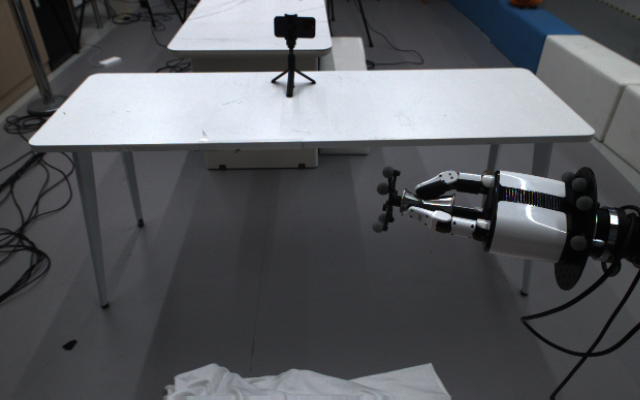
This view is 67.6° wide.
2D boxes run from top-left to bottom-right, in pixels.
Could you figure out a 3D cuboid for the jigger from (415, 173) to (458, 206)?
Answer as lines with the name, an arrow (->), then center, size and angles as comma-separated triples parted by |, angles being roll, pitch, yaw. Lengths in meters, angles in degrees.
jigger -> 0.153, 0.004, 0.662 | 0.071, 0.043, 0.043 | 9, 35, 17
